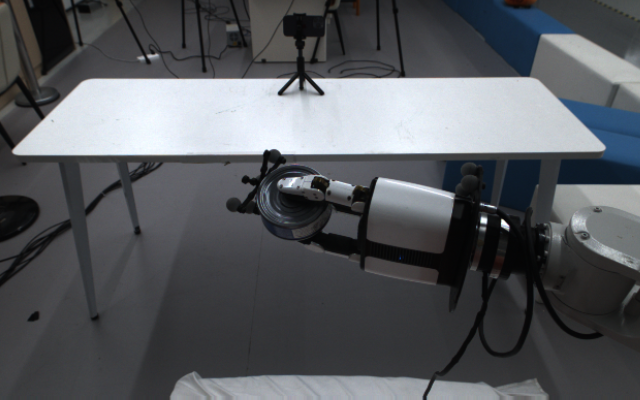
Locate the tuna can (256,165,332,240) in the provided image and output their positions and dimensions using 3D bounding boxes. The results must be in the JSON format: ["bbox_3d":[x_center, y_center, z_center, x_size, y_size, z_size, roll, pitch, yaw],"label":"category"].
[{"bbox_3d":[-0.027,0.001,0.560,0.085,0.034,0.085,-1,61,2],"label":"tuna can"}]
